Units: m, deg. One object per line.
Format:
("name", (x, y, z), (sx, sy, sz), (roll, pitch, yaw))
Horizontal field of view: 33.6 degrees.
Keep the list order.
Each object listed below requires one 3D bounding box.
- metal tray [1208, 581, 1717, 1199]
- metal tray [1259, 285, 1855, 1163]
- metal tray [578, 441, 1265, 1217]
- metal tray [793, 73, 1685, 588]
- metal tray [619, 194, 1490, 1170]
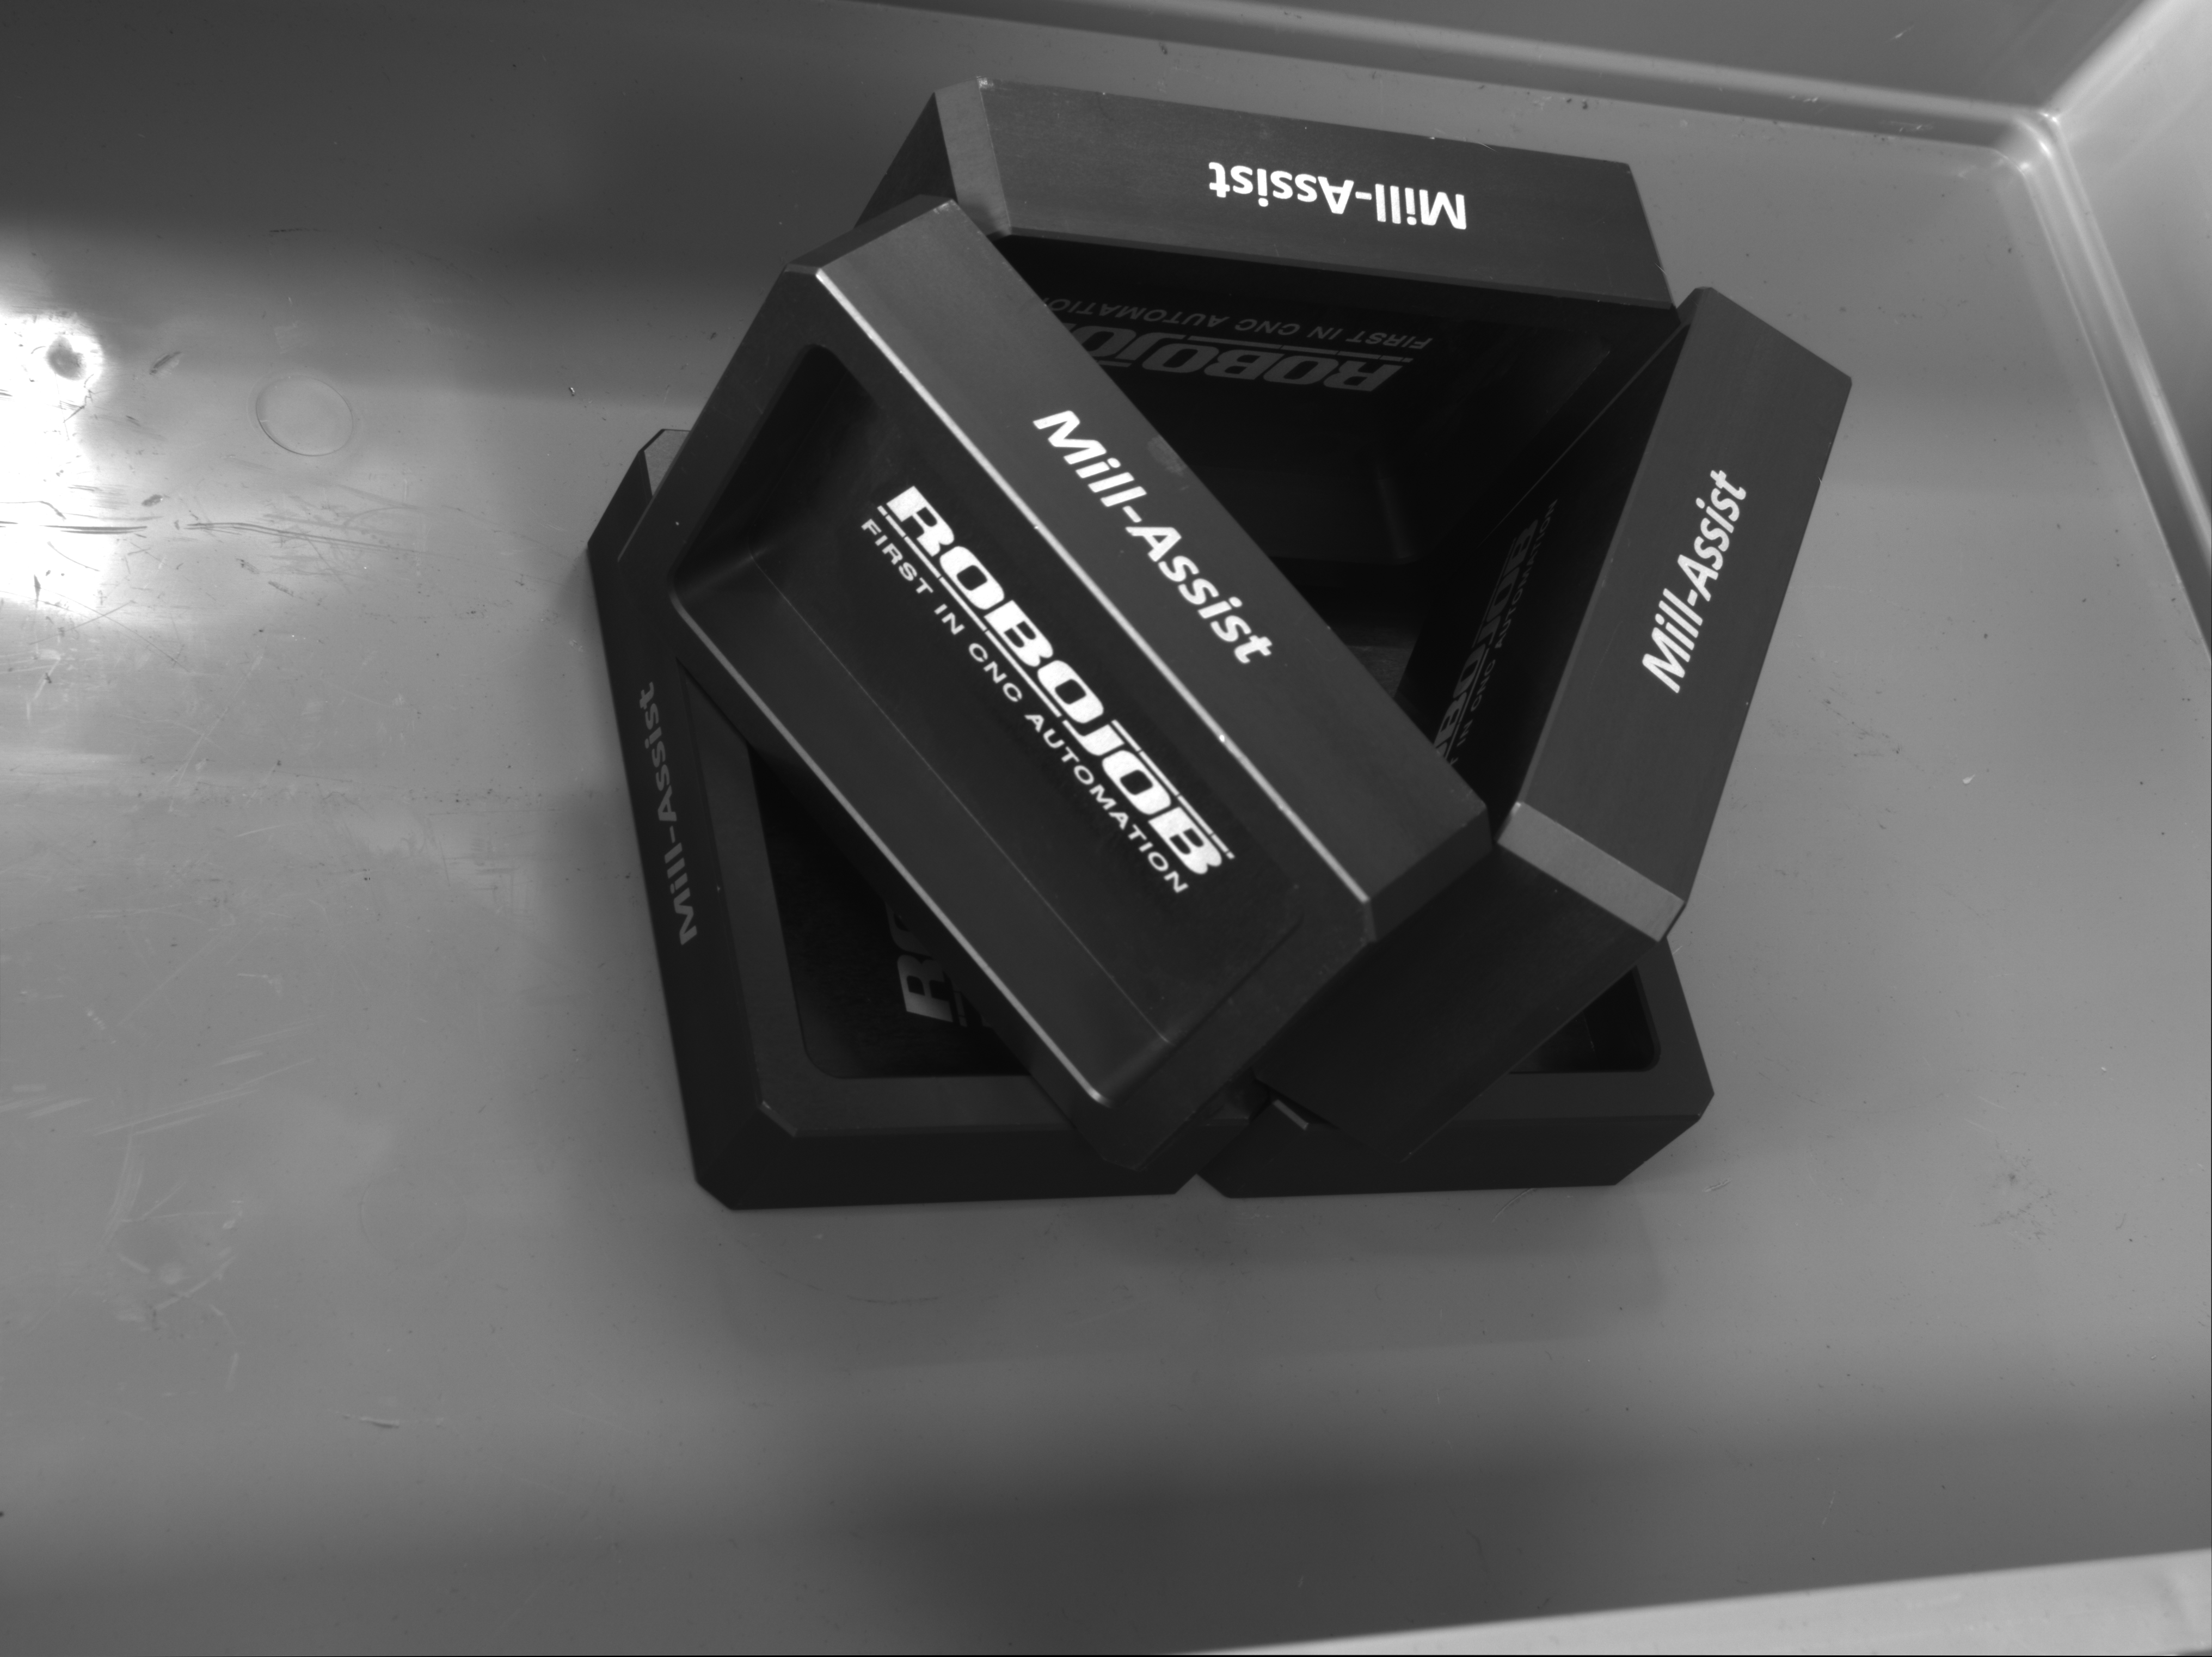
("metal tray", (0.049, 0.000, 0.661), (0.090, 0.030, 0.130), (1, 60, -27))
("metal tray", (0.074, -0.018, 0.606), (0.030, 0.090, 0.130), (31, 52, -8))
("metal tray", (-0.033, -0.001, 0.619), (0.090, 0.030, 0.130), (0, 61, -28))
("metal tray", (0.019, -0.079, 0.614), (0.130, 0.090, 0.030), (2, 61, -27))
("metal tray", (-0.011, -0.020, 0.563), (0.130, 0.090, 0.030), (49, 52, 7))
